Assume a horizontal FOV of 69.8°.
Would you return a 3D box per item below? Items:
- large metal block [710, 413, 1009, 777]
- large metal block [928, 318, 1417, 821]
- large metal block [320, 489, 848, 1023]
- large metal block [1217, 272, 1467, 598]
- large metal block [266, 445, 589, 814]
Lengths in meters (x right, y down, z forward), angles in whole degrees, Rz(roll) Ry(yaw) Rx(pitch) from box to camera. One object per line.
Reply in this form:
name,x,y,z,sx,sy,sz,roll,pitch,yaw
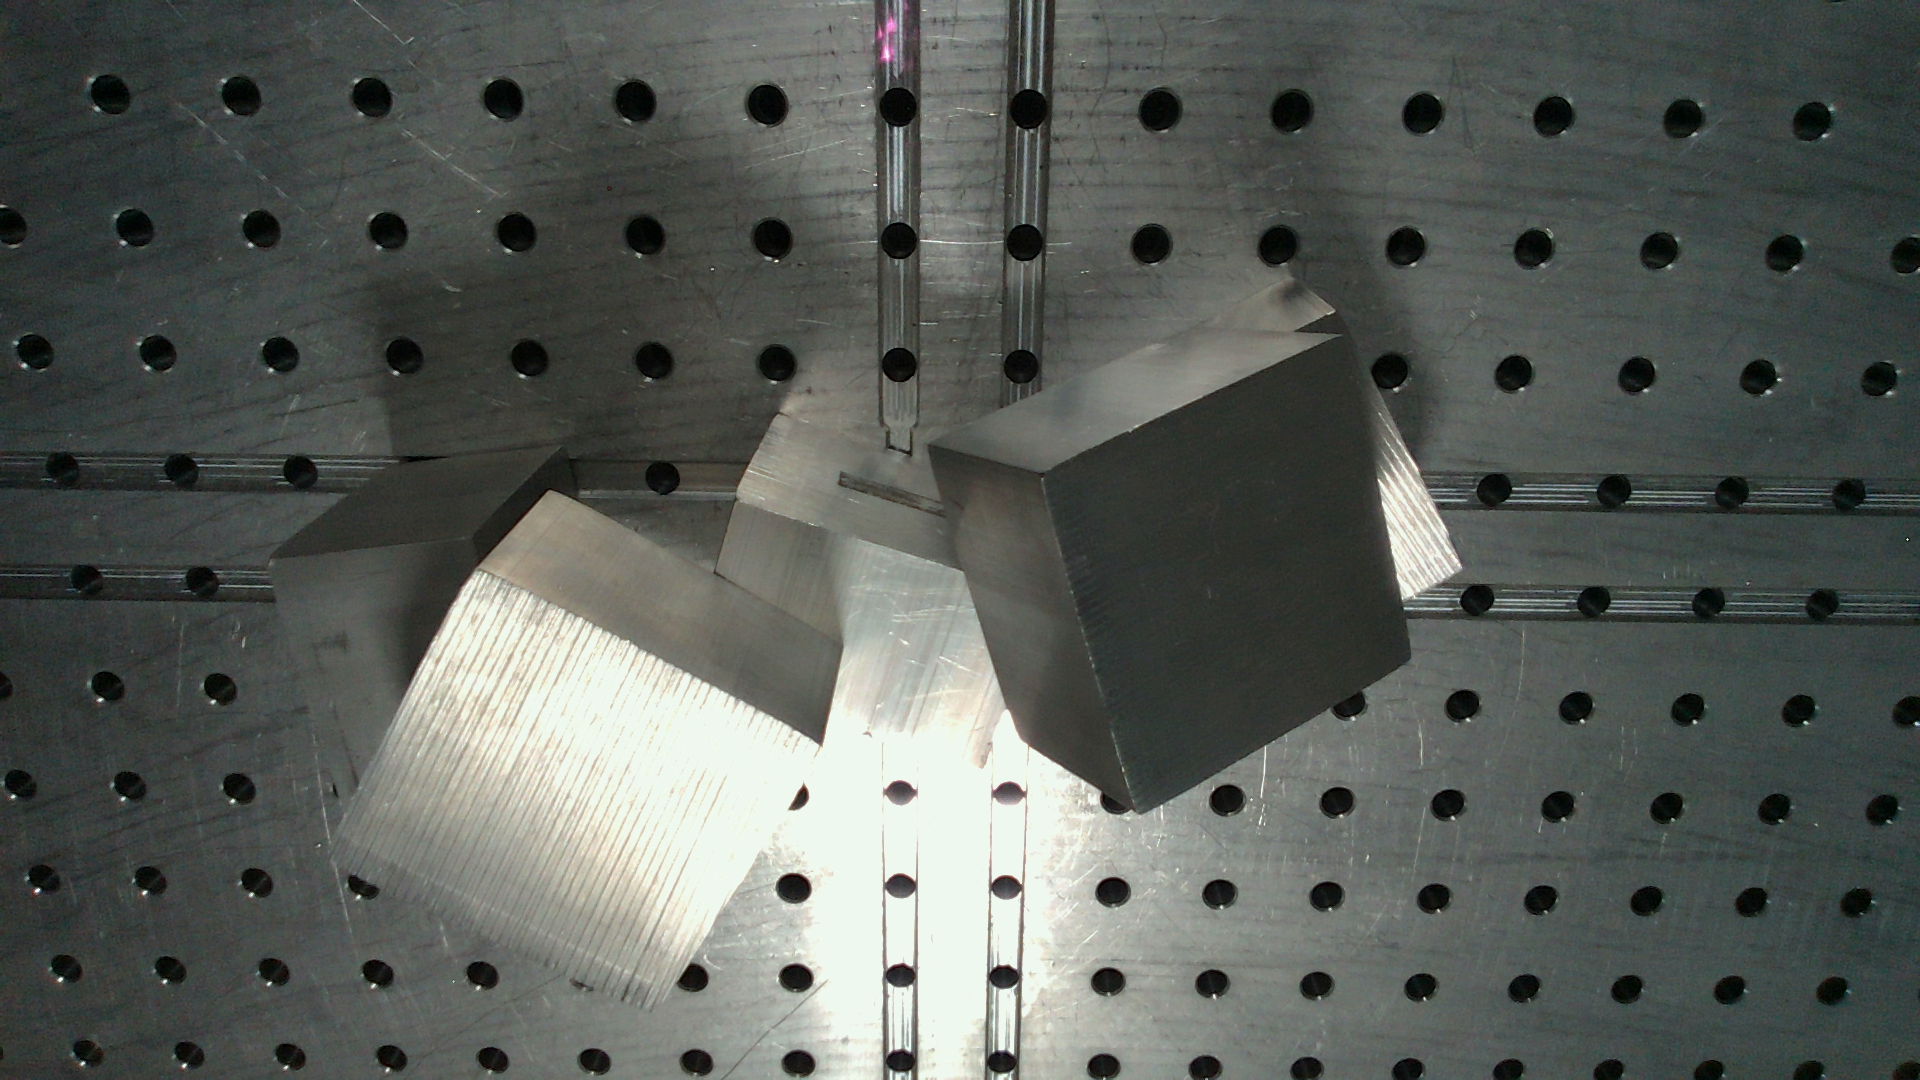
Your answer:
large metal block,-0.023,0.011,0.371,0.080,0.080,0.050,18,109,-6
large metal block,0.049,0.003,0.311,0.080,0.050,0.080,-25,111,-22
large metal block,-0.082,0.048,0.314,0.080,0.050,0.080,30,107,-10
large metal block,0.078,-0.015,0.378,0.080,0.050,0.080,-29,108,10
large metal block,-0.135,0.026,0.375,0.050,0.080,0.080,-6,110,2
